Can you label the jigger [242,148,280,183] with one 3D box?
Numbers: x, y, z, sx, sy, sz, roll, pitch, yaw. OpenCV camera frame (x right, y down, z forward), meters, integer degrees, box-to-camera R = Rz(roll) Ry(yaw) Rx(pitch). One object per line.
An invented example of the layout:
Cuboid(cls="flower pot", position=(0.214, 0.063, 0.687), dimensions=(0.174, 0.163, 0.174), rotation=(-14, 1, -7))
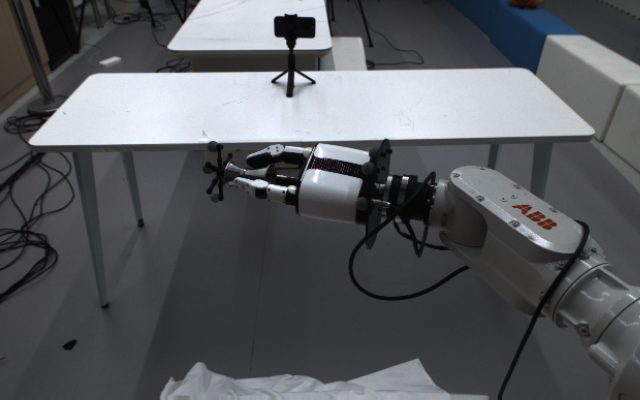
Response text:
Cuboid(cls="jigger", position=(-0.099, -0.039, 0.733), dimensions=(0.071, 0.043, 0.043), rotation=(6, 35, 15))
